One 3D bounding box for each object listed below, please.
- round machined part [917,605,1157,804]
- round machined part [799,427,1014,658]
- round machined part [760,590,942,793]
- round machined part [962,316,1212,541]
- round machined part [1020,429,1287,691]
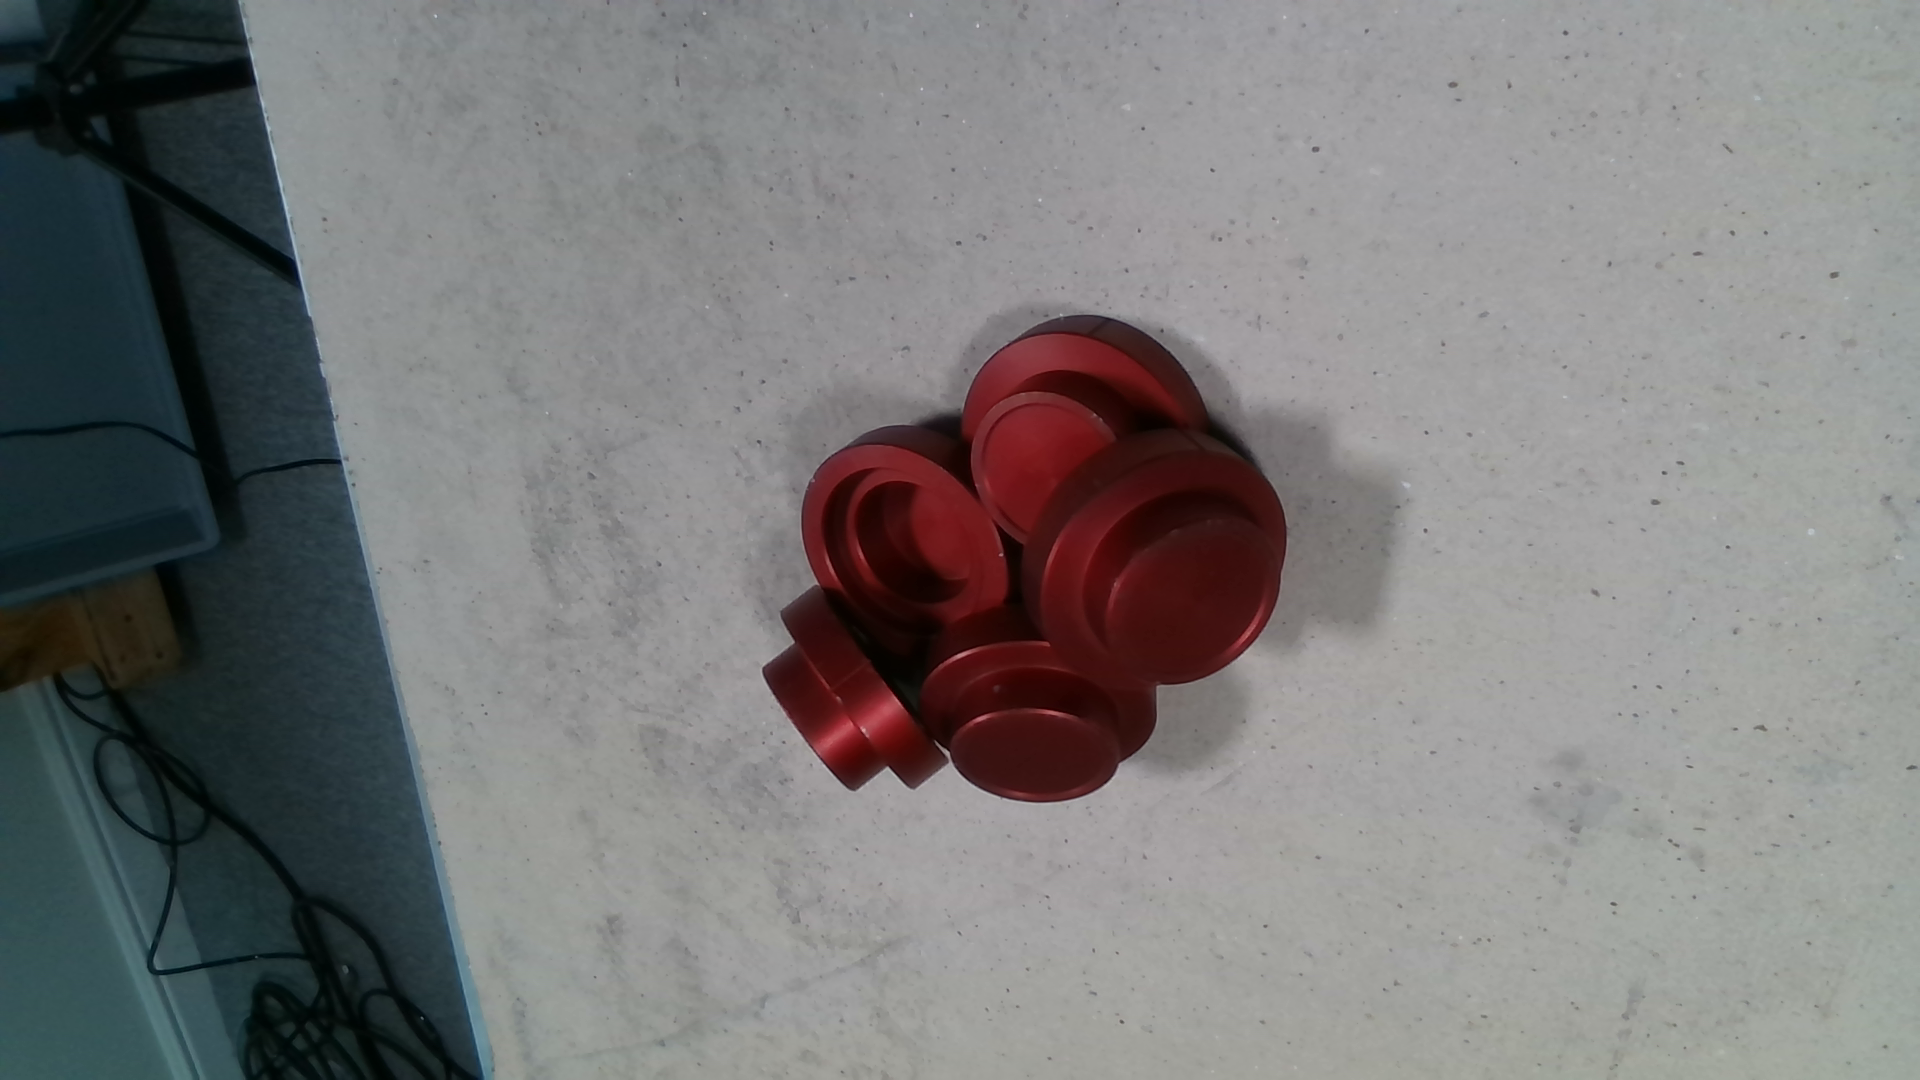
[{"bbox_3d":[0.031,0.073,0.562,0.098,0.042,0.098,3,139,3],"label":"round machined part"},{"bbox_3d":[-0.015,-0.003,0.577,0.098,0.042,0.098,14,122,25],"label":"round machined part"},{"bbox_3d":[-0.051,0.071,0.603,0.042,0.098,0.098,-37,94,-2],"label":"round machined part"},{"bbox_3d":[0.044,-0.033,0.526,0.098,0.042,0.098,14,122,25],"label":"round machined part"},{"bbox_3d":[0.075,0.013,0.493,0.042,0.098,0.098,-127,32,-55],"label":"round machined part"}]
